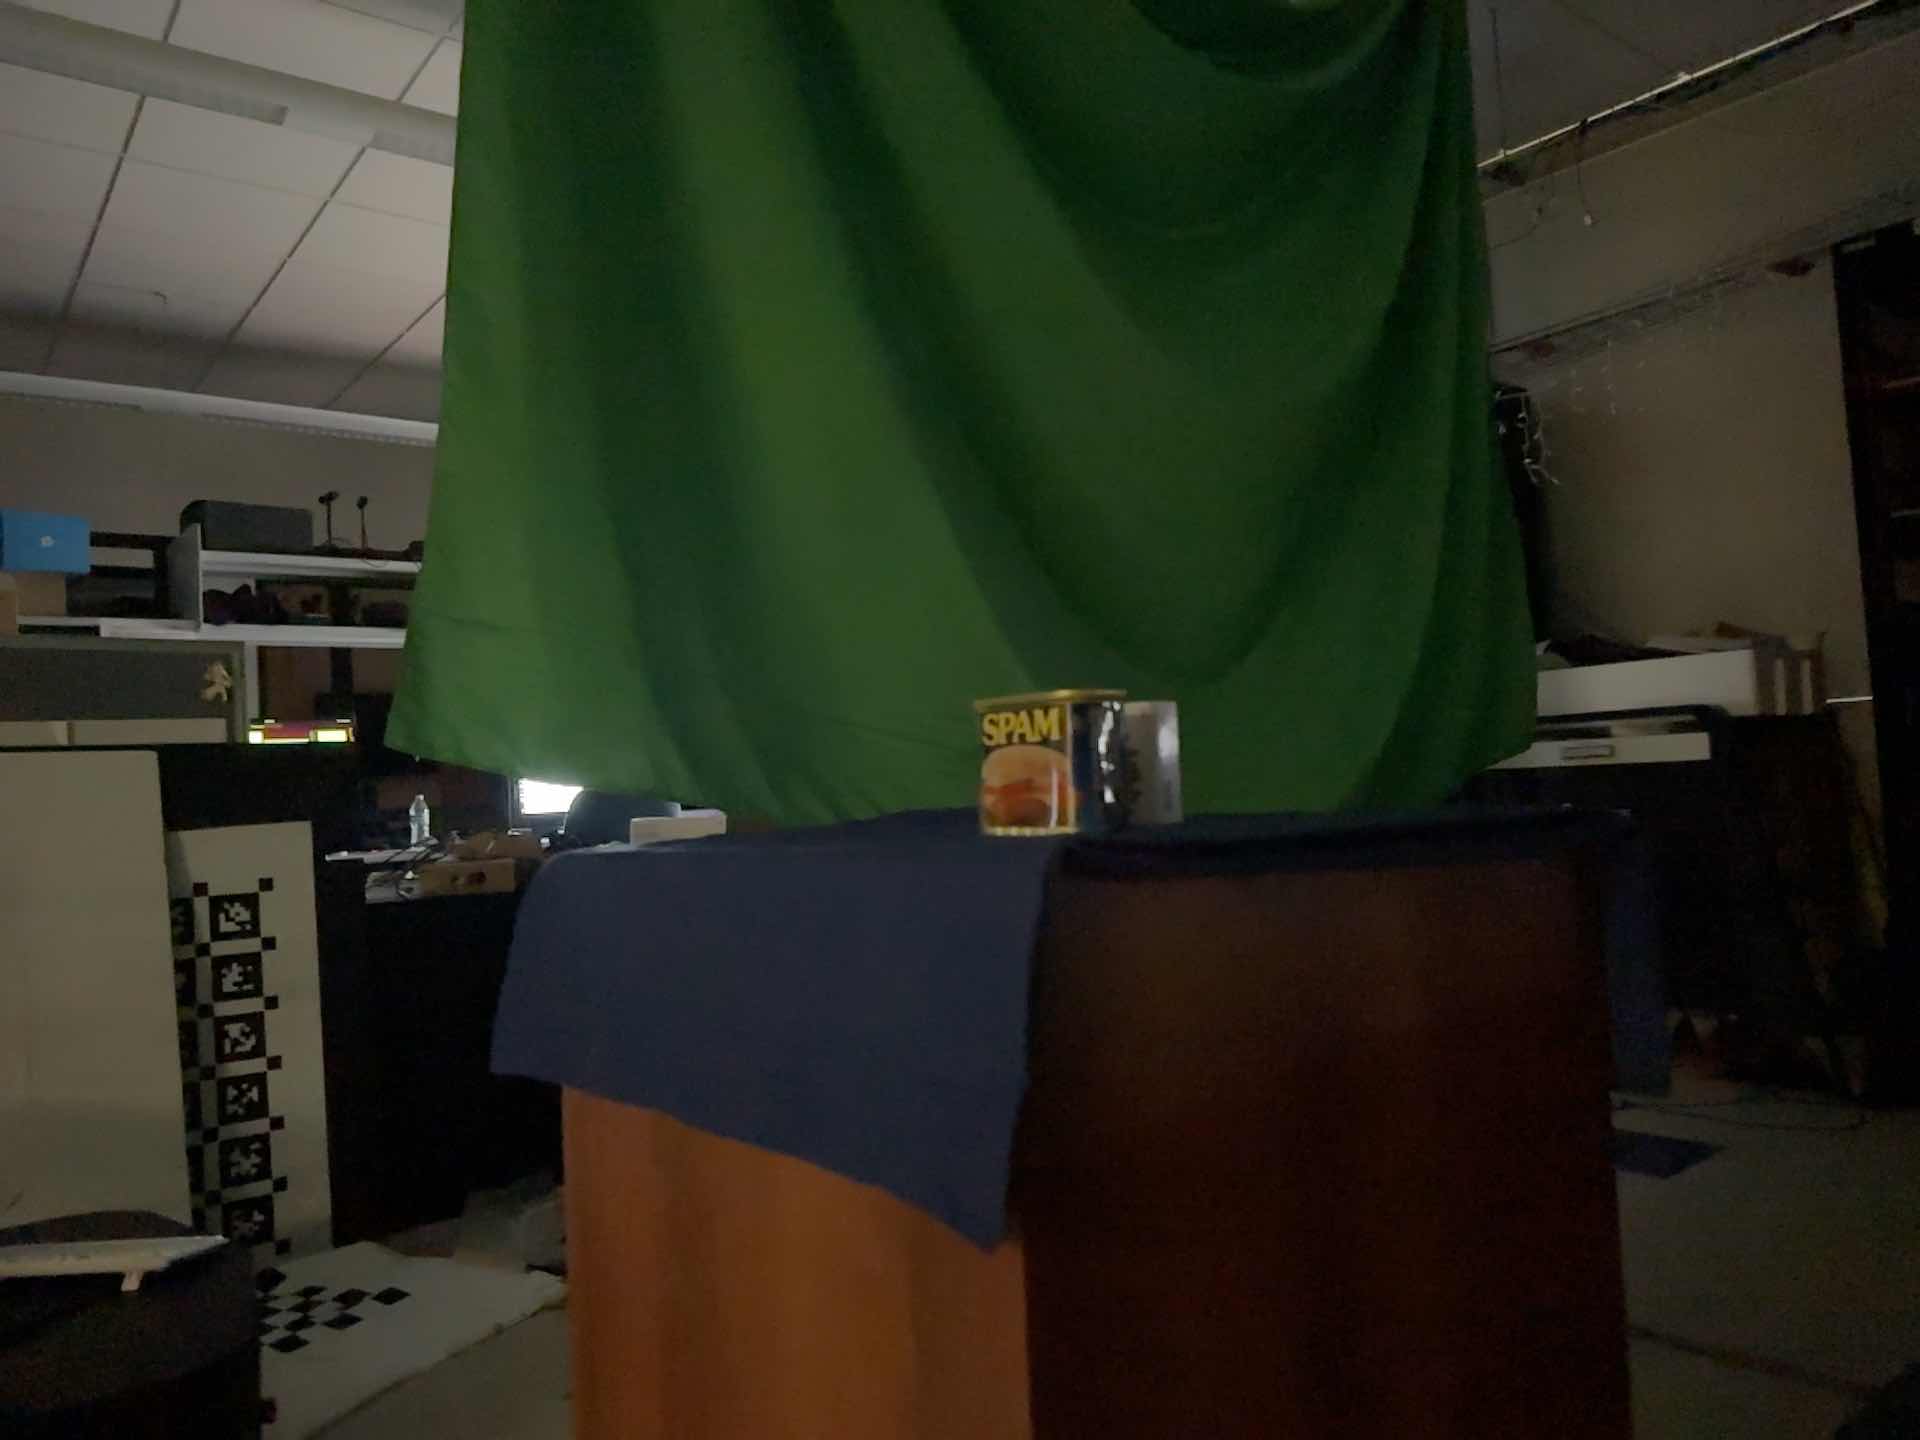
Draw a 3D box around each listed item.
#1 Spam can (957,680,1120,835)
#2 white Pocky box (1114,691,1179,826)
[{"bbox_3d":[0.044,0.022,0.778,0.056,0.083,0.100,1,-2,-36],"label":"Spam can"},{"bbox_3d":[0.090,0.027,0.895,0.028,0.084,0.154,0,-3,-28],"label":"white Pocky box"}]
